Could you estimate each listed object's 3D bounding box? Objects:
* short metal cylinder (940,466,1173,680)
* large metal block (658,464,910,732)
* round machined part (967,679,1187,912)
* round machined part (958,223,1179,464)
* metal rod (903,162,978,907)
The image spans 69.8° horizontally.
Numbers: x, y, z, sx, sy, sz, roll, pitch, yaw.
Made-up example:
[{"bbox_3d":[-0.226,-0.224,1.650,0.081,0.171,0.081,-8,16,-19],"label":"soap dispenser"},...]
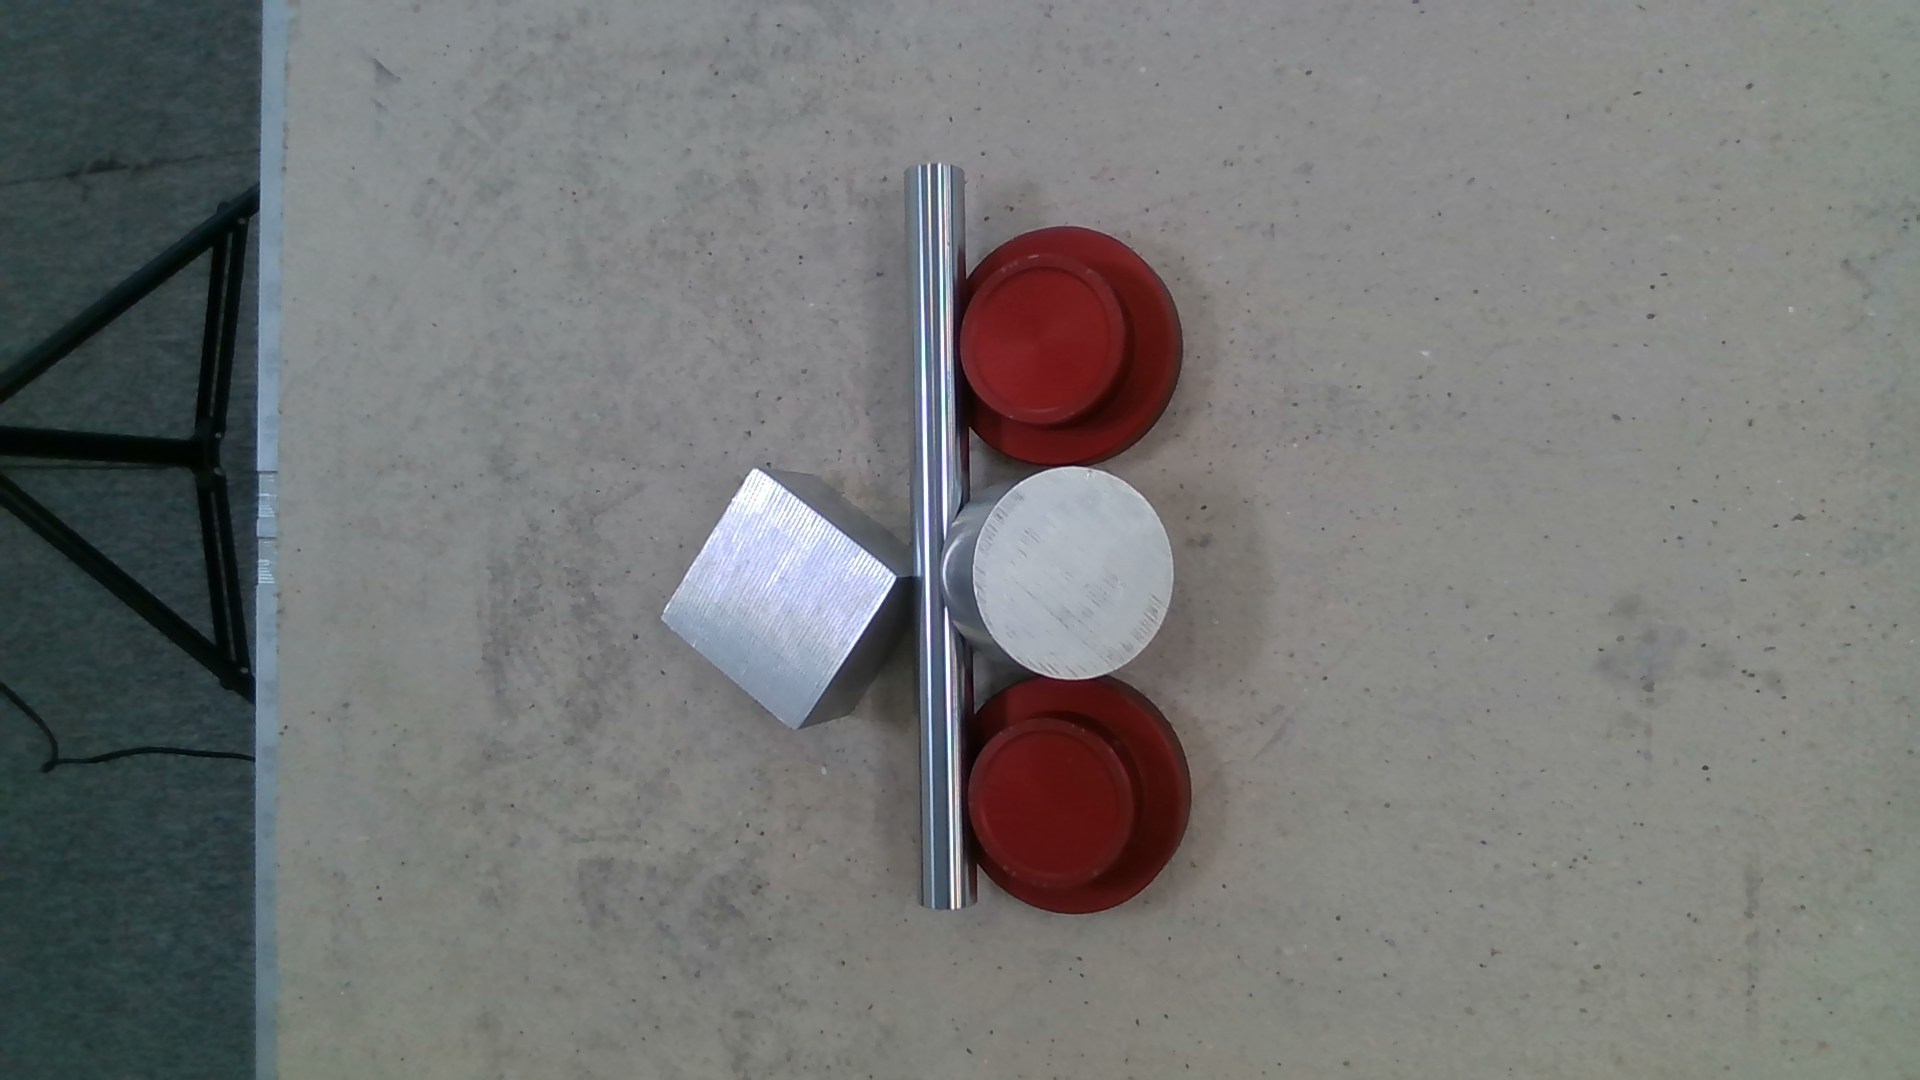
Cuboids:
[{"bbox_3d":[0.036,0.012,0.540,0.080,0.050,0.080,0,90,-15],"label":"short metal cylinder"},{"bbox_3d":[-0.069,0.024,0.596,0.080,0.050,0.080,37,102,16],"label":"large metal block"},{"bbox_3d":[0.041,0.103,0.563,0.098,0.042,0.098,0,91,20],"label":"round machined part"},{"bbox_3d":[0.038,-0.080,0.562,0.098,0.042,0.098,0,91,20],"label":"round machined part"},{"bbox_3d":[-0.008,-0.002,0.566,0.025,0.025,0.300,-1,90,20],"label":"metal rod"}]
